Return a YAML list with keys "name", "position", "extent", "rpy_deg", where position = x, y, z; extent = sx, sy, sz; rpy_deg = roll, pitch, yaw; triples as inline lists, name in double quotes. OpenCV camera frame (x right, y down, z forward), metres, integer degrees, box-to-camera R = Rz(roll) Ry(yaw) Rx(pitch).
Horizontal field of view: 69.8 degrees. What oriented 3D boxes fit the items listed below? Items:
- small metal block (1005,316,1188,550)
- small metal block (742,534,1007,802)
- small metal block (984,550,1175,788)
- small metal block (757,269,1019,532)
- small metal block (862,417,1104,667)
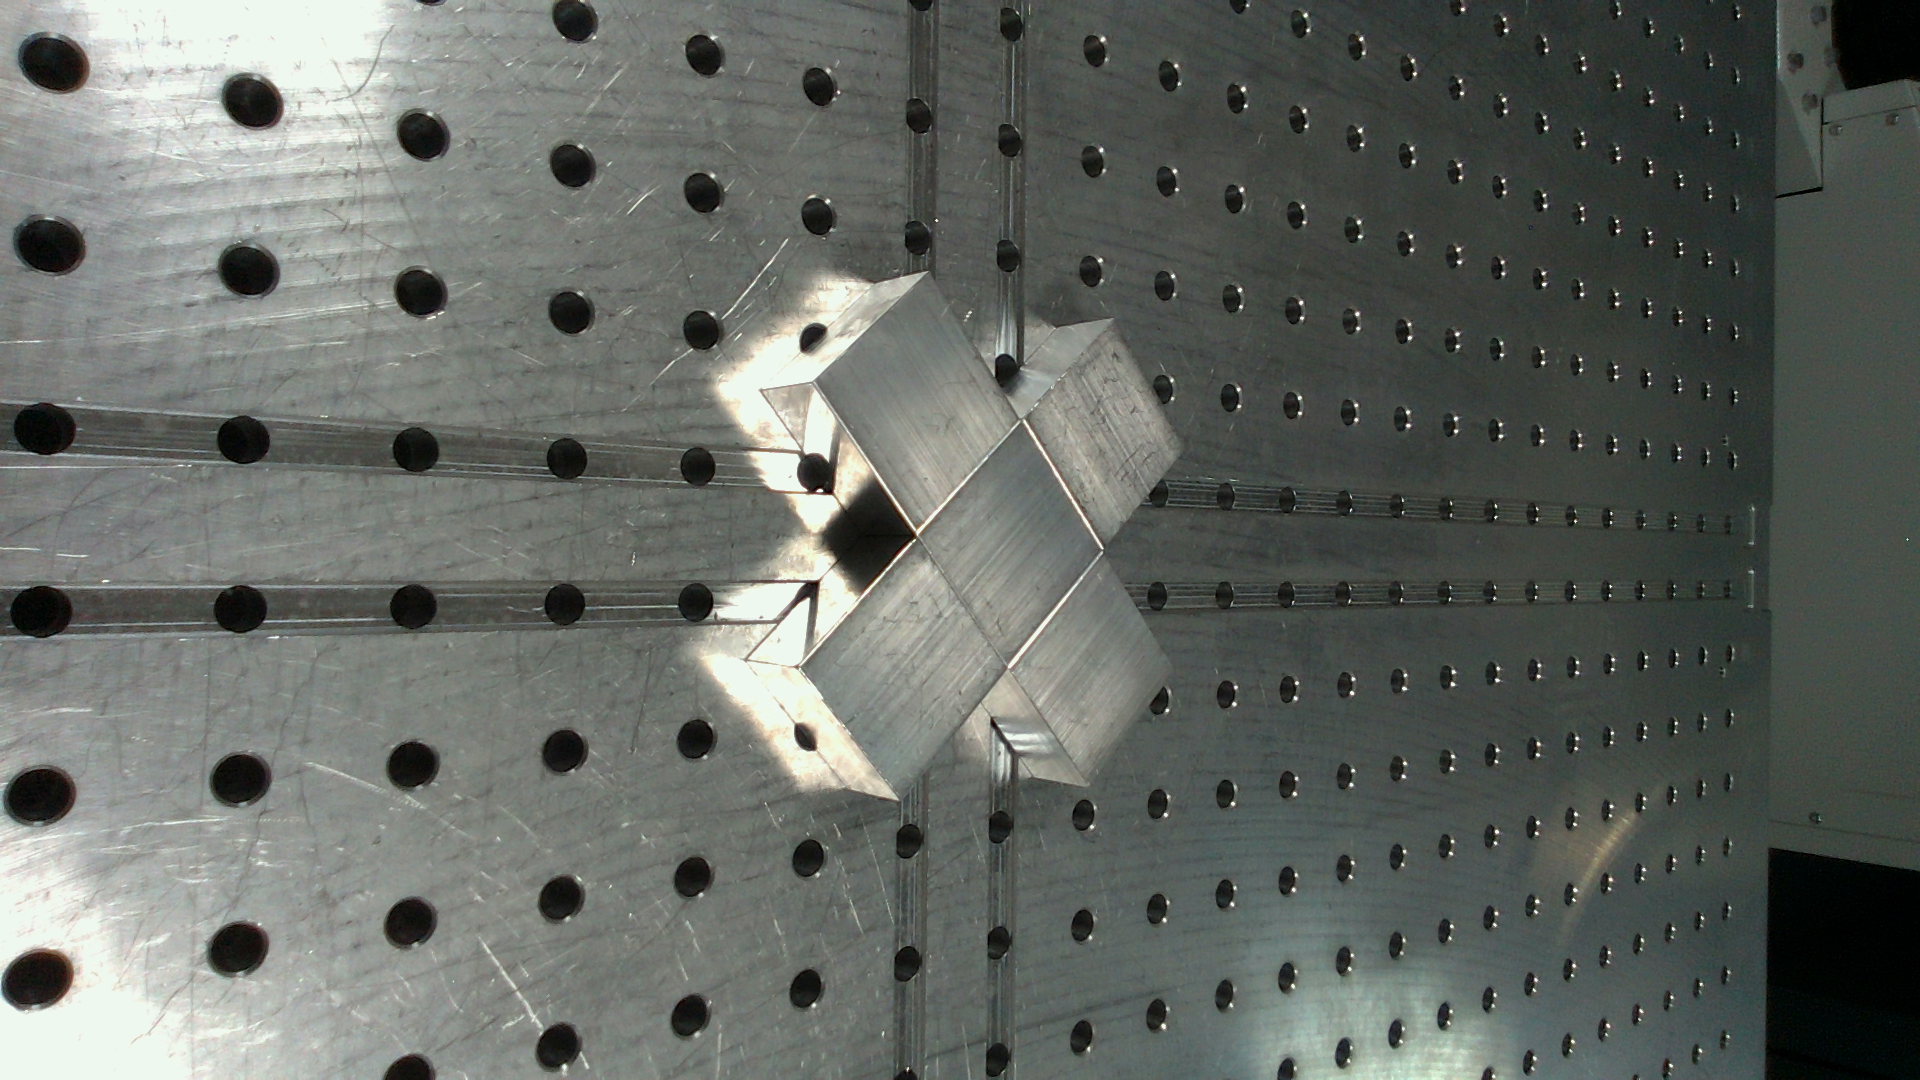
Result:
- name: "small metal block"
  position: [0.037, -0.032, 0.422]
  extent: [0.050, 0.025, 0.050]
  rpy_deg: [-49, 119, -29]
- name: "small metal block"
  position: [-0.022, 0.034, 0.374]
  extent: [0.050, 0.025, 0.050]
  rpy_deg: [-49, 119, -29]
- name: "small metal block"
  position: [0.032, 0.038, 0.419]
  extent: [0.050, 0.025, 0.050]
  rpy_deg: [-48, 119, -29]
- name: "small metal block"
  position: [-0.018, -0.037, 0.376]
  extent: [0.050, 0.025, 0.050]
  rpy_deg: [-48, 119, -29]
- name: "small metal block"
  position: [0.008, 0.000, 0.397]
  extent: [0.050, 0.025, 0.050]
  rpy_deg: [-49, 119, -29]
